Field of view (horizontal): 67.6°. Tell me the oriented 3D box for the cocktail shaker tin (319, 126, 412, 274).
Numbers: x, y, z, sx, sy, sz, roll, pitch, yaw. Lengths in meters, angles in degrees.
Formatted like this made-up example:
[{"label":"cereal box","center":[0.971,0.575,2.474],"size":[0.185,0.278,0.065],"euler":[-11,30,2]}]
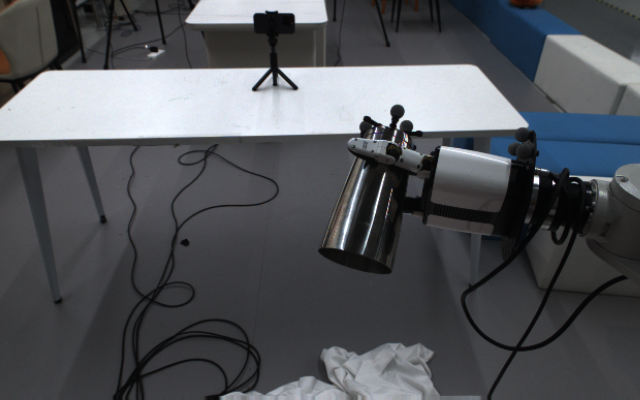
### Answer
[{"label":"cocktail shaker tin","center":[0.068,-0.005,0.608],"size":[0.093,0.093,0.170],"euler":[13,72,15]}]
